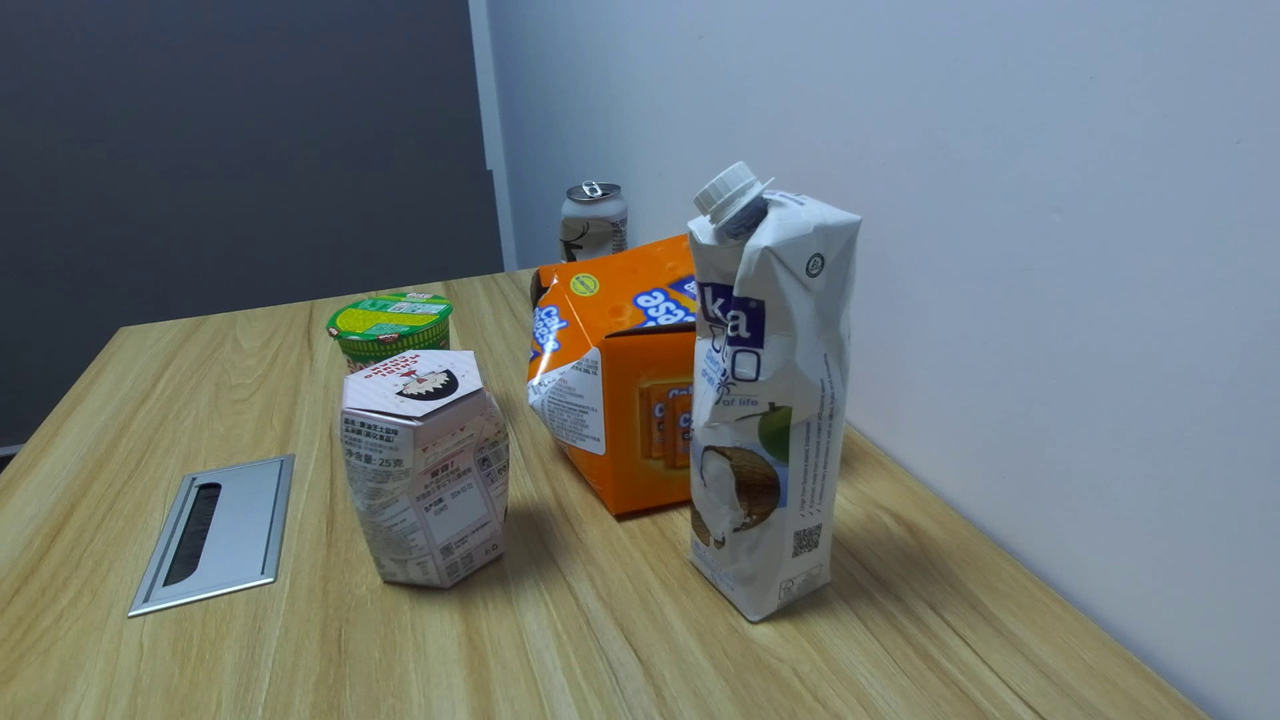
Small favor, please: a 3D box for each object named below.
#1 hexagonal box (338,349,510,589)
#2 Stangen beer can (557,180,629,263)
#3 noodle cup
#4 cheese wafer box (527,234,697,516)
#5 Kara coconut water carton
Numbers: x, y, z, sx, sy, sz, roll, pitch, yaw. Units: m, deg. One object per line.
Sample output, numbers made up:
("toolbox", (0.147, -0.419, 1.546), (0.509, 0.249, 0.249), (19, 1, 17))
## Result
("hexagonal box", (-0.129, 0.069, 0.446), (0.091, 0.134, 0.090), (-5, 29, -7))
("Stangen beer can", (-0.046, -0.115, 0.809), (0.070, 0.173, 0.070), (-17, 36, -17))
("noodle cup", (-0.202, 0.013, 0.594), (0.097, 0.110, 0.097), (-2, 23, 1))
("cheese wafer box", (0.001, -0.004, 0.571), (0.192, 0.145, 0.218), (-10, 26, -17))
("Kara coconut water carton", (0.066, 0.018, 0.388), (0.078, 0.256, 0.083), (-13, 29, -15))
